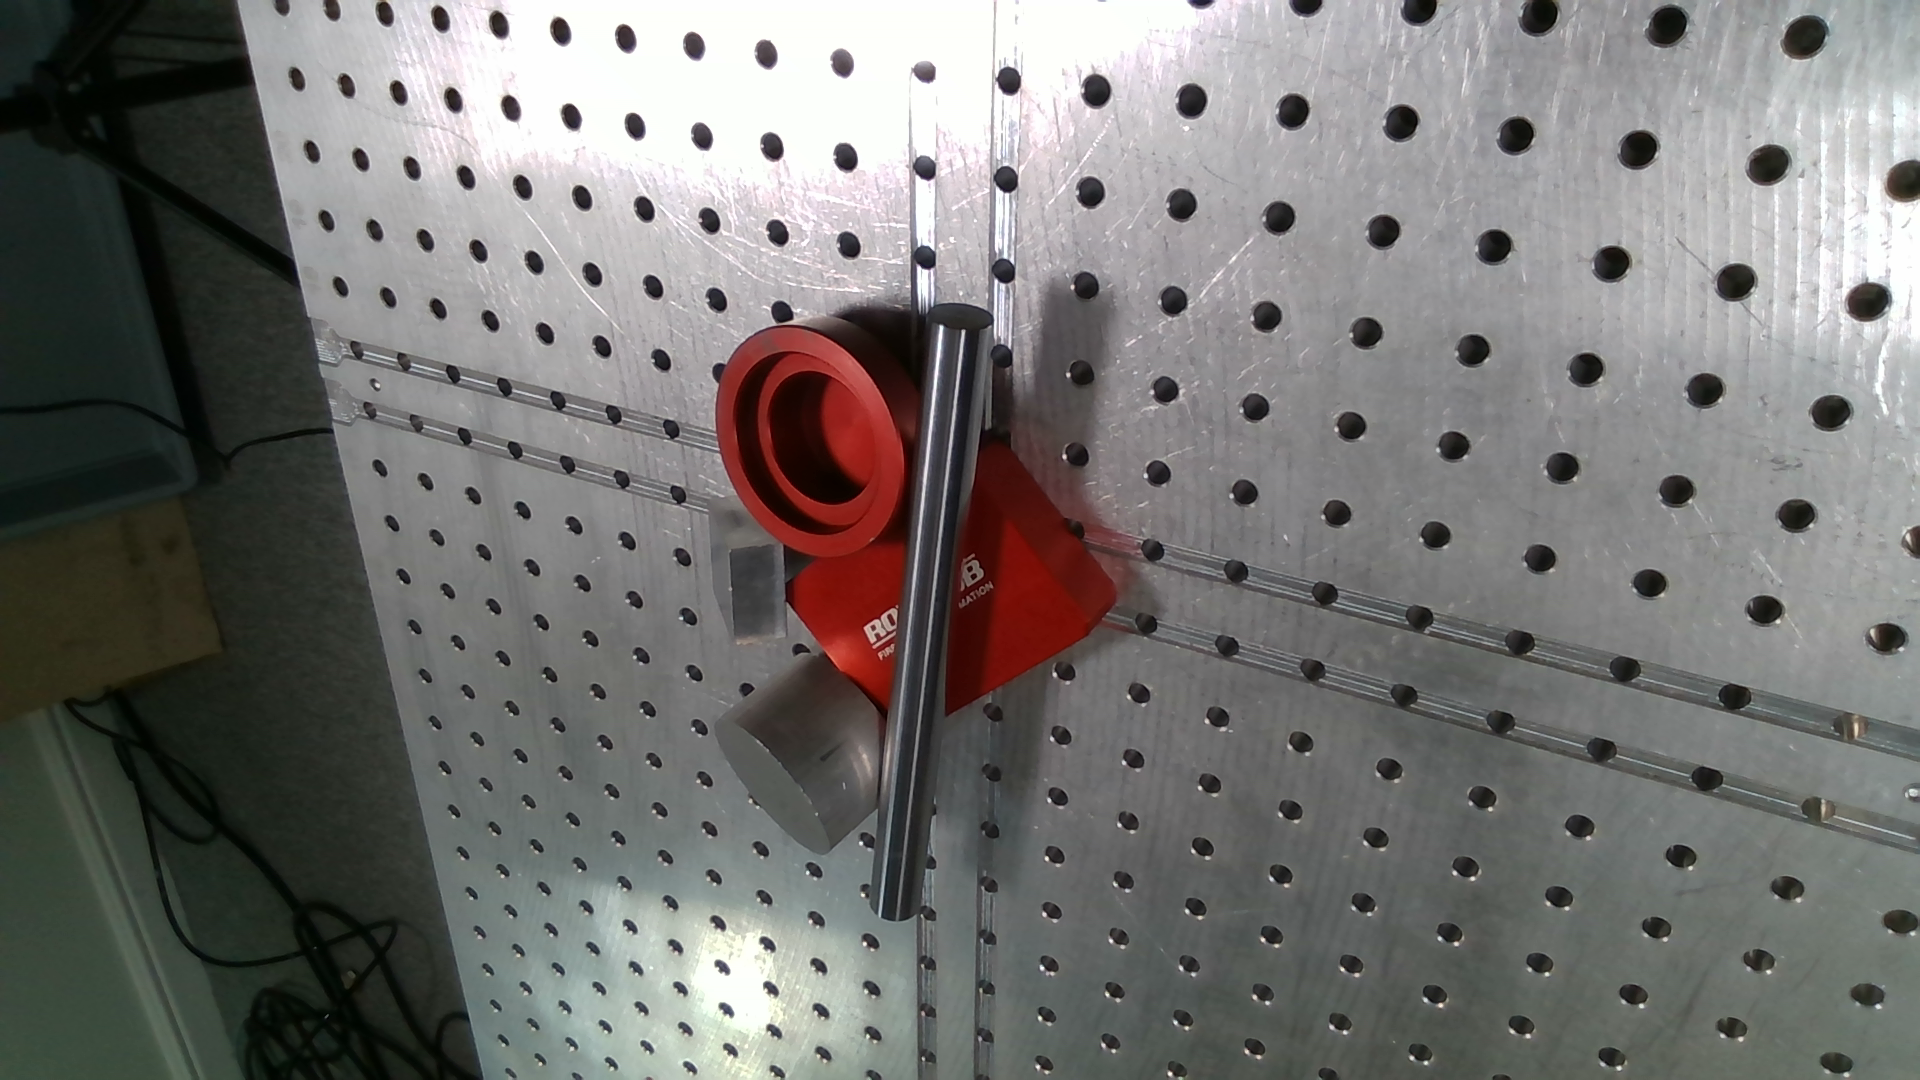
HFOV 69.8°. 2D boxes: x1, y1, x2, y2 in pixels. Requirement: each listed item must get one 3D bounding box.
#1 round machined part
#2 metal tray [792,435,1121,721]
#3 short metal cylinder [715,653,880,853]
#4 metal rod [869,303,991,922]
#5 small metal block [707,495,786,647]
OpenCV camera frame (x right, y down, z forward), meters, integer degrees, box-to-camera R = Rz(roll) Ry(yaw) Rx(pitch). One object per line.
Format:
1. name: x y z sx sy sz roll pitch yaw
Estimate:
1. round machined part: -0.052 -0.045 0.573 0.098 0.042 0.098 15 117 31
2. metal tray: -0.006 0.024 0.598 0.130 0.030 0.090 -35 94 39
3. short metal cylinder: -0.070 0.100 0.645 0.080 0.050 0.080 38 151 25
4. metal rod: -0.017 0.046 0.578 0.025 0.025 0.301 21 124 21
5. small metal block: -0.098 0.013 0.633 0.050 0.025 0.050 -123 30 -55
